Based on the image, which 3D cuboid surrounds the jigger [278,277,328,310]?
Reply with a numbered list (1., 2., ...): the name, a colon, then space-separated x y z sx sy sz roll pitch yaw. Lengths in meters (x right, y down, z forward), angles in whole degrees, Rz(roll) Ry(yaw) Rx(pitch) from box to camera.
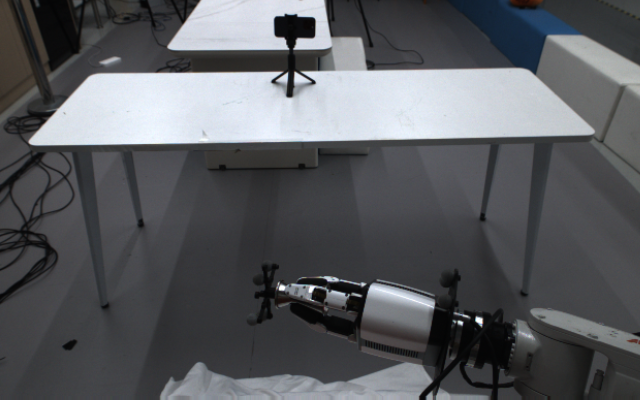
1. jigger: -0.016 0.128 0.654 0.071 0.043 0.043 4 34 13
